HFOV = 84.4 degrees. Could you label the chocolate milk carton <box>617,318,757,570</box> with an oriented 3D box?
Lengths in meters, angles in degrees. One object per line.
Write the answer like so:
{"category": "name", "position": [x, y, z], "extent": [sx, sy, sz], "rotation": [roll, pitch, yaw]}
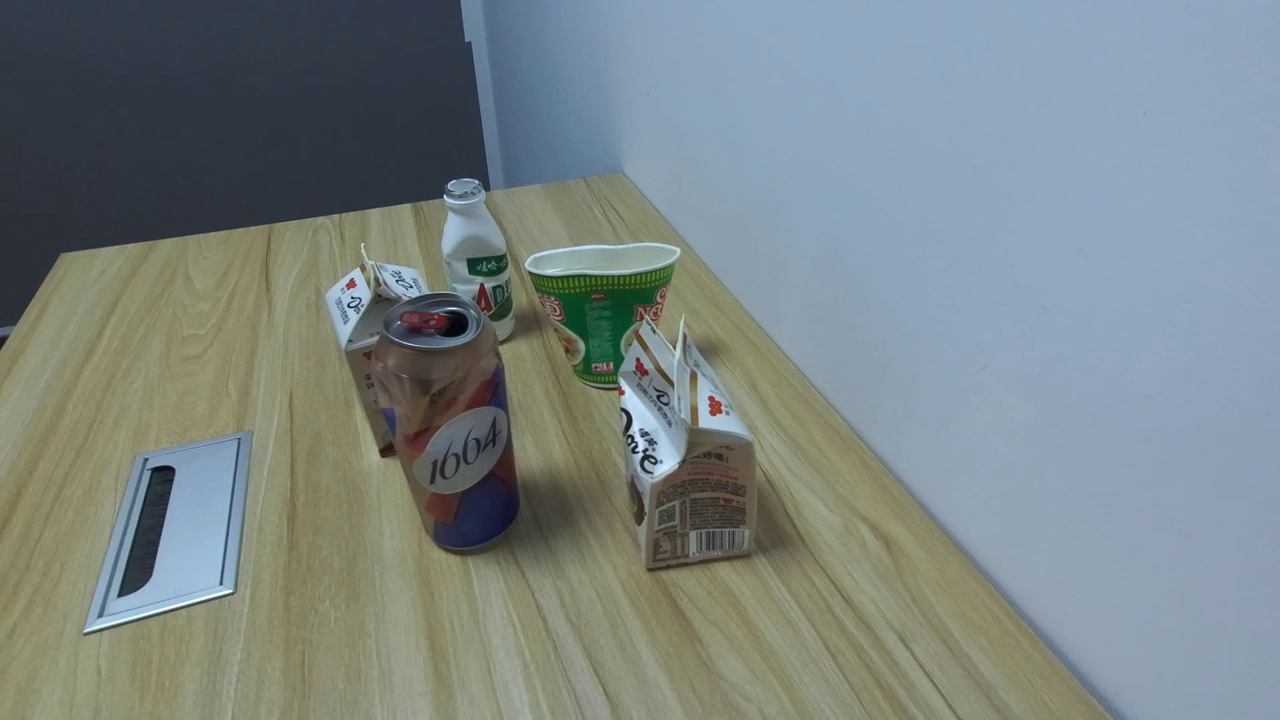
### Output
{"category": "chocolate milk carton", "position": [0.028, 0.048, 0.433], "extent": [0.074, 0.156, 0.076], "rotation": [-9, 38, -5]}

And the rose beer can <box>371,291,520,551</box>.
{"category": "rose beer can", "position": [-0.114, 0.044, 0.438], "extent": [0.076, 0.167, 0.065], "rotation": [-27, 45, -35]}

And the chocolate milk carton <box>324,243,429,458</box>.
{"category": "chocolate milk carton", "position": [-0.184, -0.014, 0.532], "extent": [0.074, 0.148, 0.075], "rotation": [-21, 44, -21]}

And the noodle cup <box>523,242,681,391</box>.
{"category": "noodle cup", "position": [-0.030, -0.040, 0.591], "extent": [0.115, 0.111, 0.070], "rotation": [9, 41, 11]}

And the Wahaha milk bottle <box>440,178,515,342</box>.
{"category": "Wahaha milk bottle", "position": [-0.145, -0.084, 0.624], "extent": [0.056, 0.148, 0.056], "rotation": [1, 36, -1]}
